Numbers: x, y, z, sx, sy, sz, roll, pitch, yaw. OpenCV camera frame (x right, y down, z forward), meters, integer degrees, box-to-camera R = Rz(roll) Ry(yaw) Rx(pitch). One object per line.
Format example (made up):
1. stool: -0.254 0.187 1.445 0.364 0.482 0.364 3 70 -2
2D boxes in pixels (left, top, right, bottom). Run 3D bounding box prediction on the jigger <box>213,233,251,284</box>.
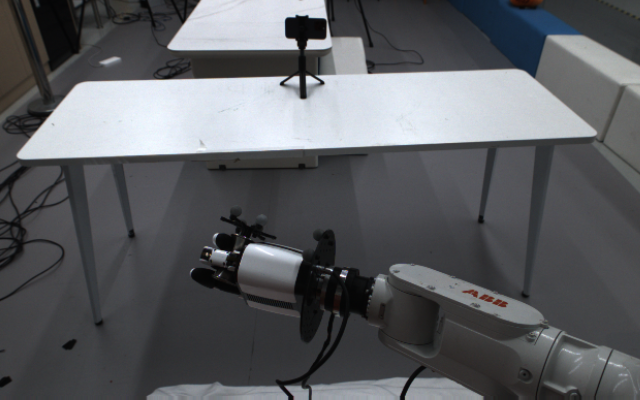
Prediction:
1. jigger: -0.123 0.086 0.703 0.043 0.043 0.071 15 71 18
